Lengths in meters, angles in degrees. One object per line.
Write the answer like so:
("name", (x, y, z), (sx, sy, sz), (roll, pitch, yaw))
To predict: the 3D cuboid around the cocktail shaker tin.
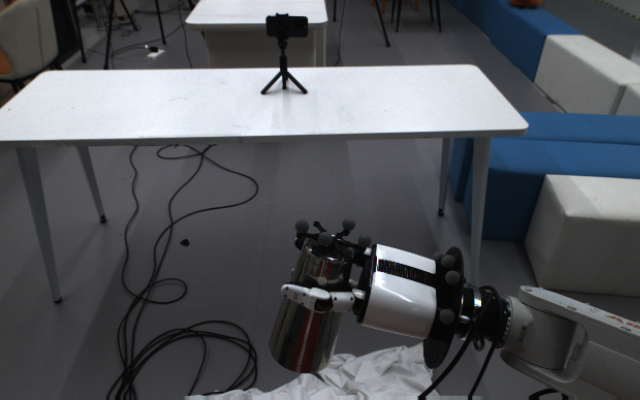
("cocktail shaker tin", (-0.004, 0.130, 0.645), (0.093, 0.170, 0.093), (12, 25, -6))
